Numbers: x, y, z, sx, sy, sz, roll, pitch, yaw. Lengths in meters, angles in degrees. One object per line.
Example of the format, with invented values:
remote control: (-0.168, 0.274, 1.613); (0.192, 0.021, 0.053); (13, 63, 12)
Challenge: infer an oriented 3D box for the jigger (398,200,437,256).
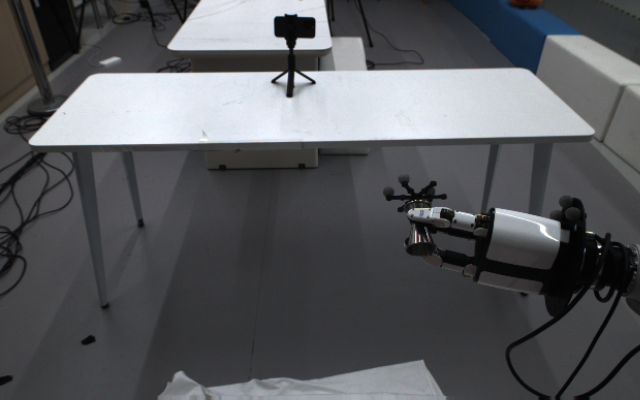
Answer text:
jigger: (0.140, 0.036, 0.681); (0.043, 0.043, 0.071); (2, 59, 0)
